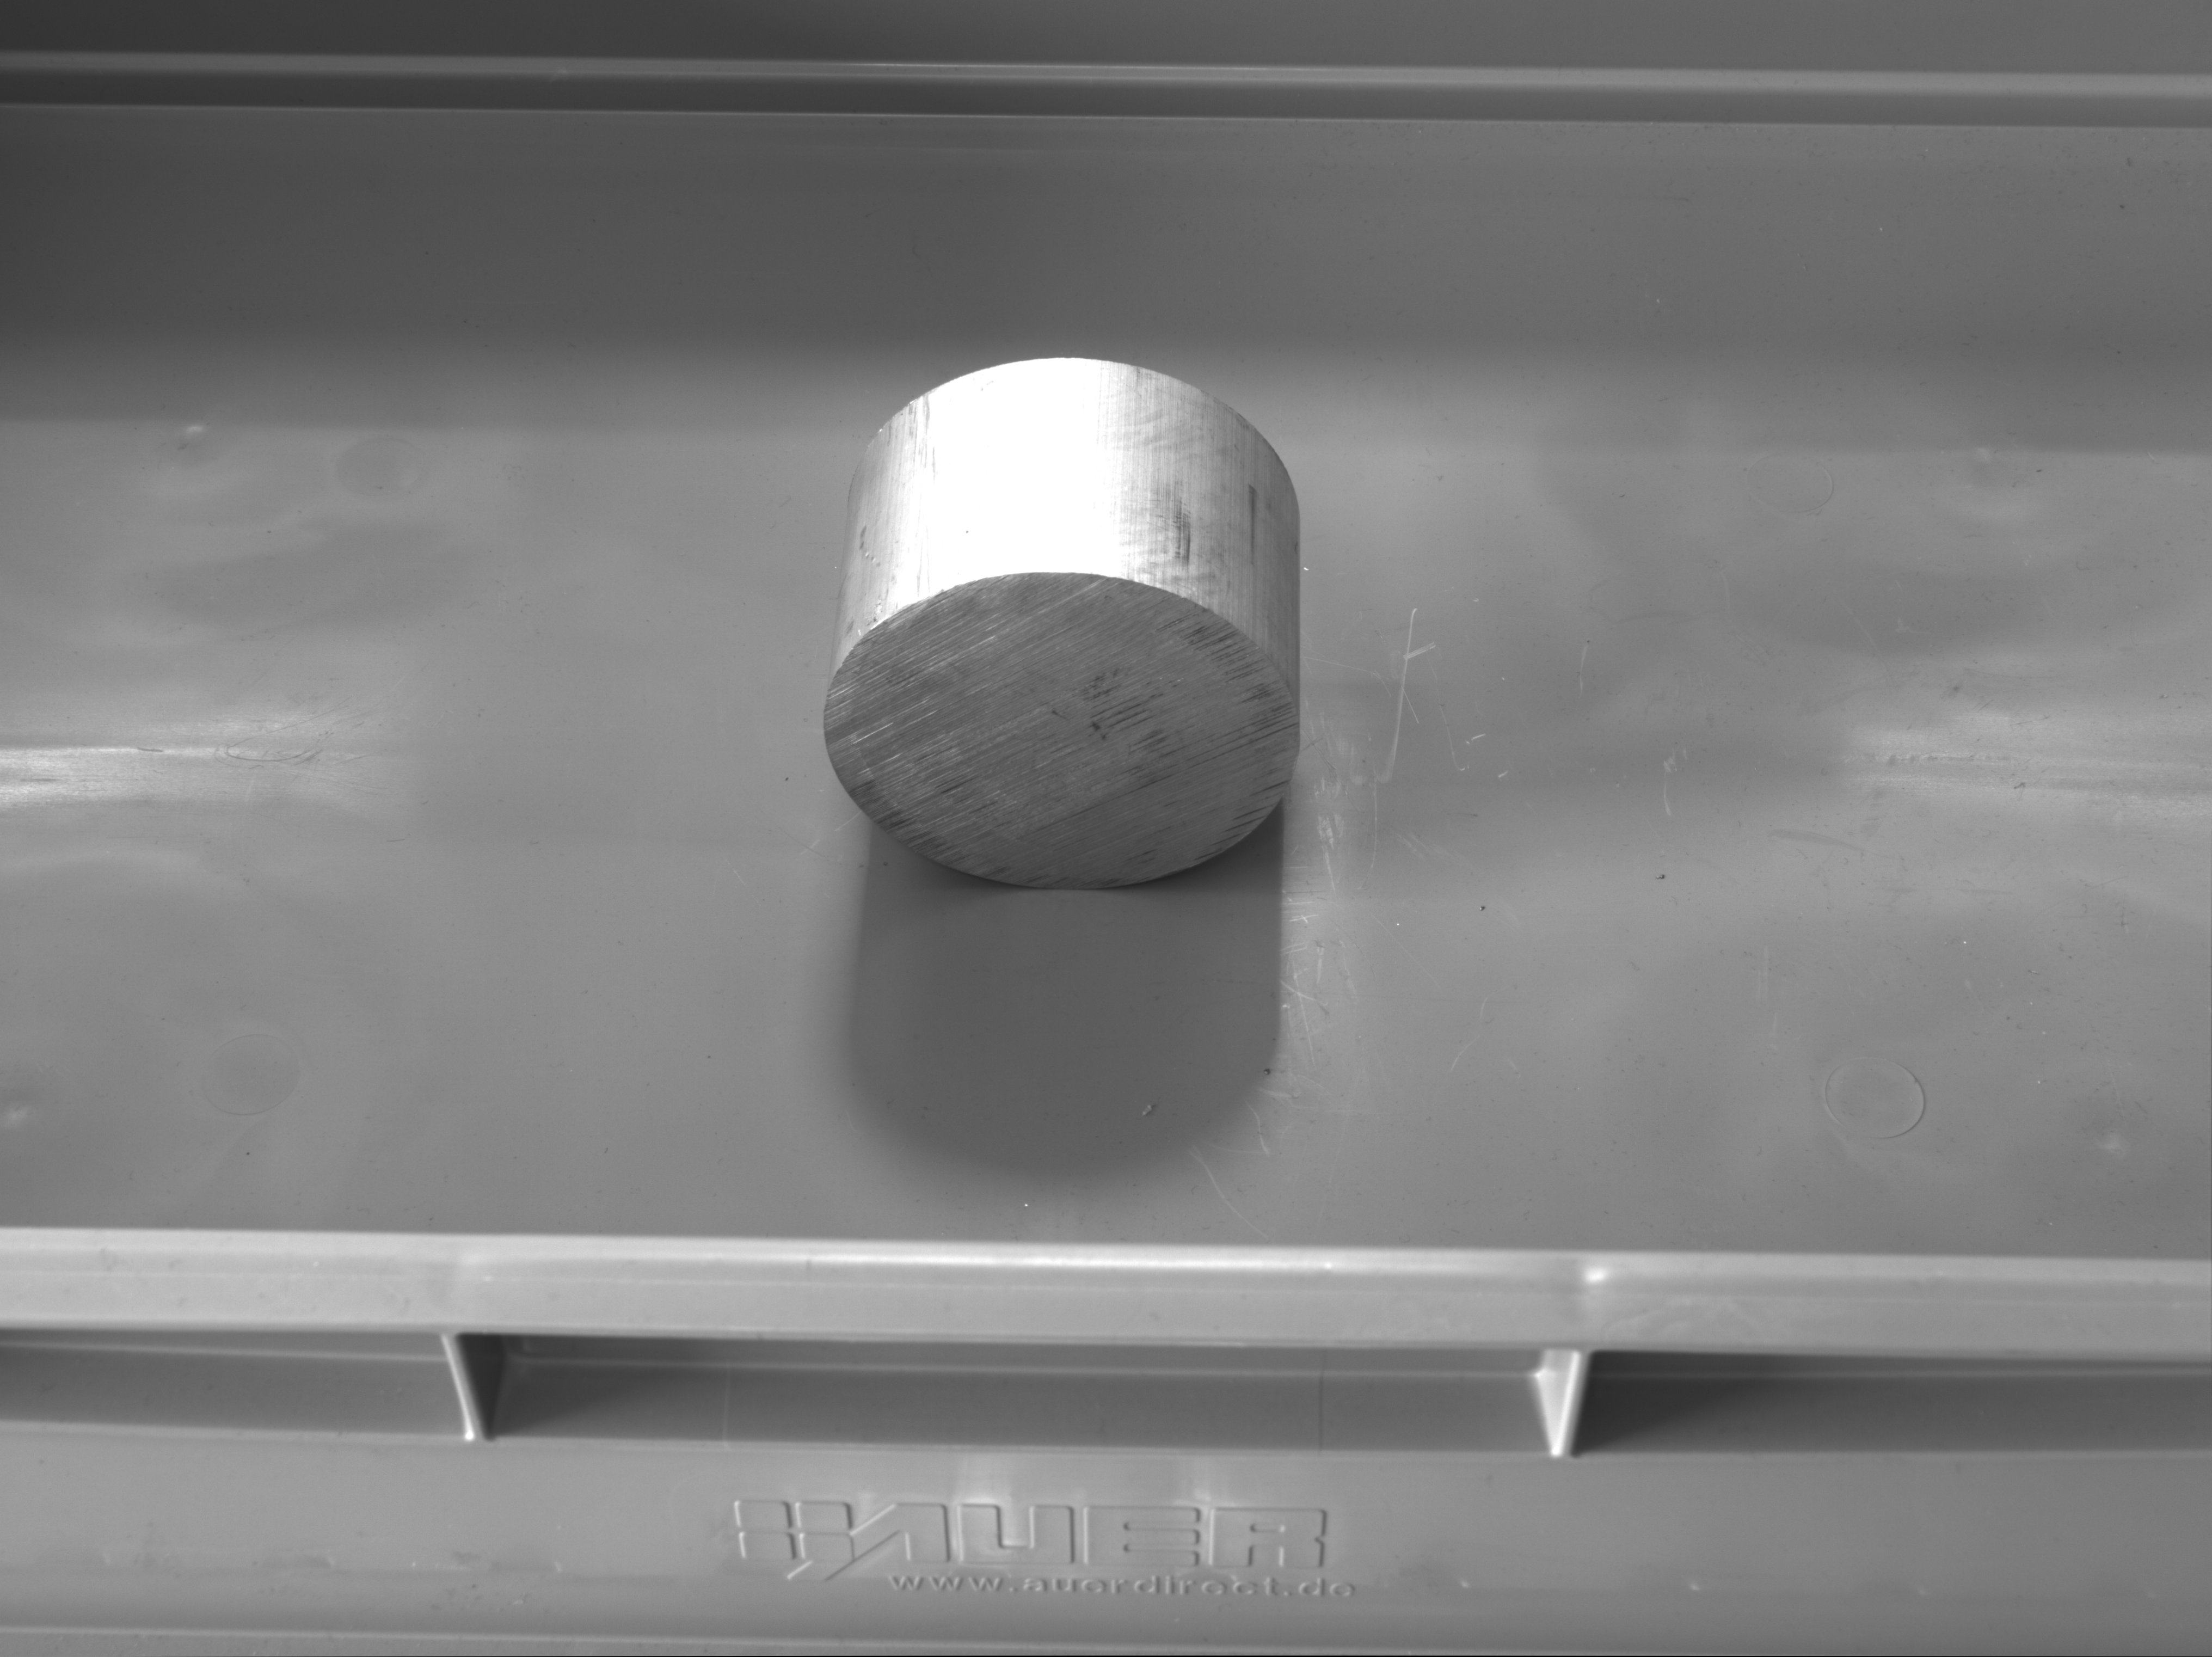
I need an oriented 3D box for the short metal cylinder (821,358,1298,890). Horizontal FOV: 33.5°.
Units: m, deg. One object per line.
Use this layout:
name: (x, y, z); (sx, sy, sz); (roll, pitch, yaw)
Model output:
short metal cylinder: (-0.007, -0.034, 0.632); (0.080, 0.080, 0.050); (1, 50, 1)
